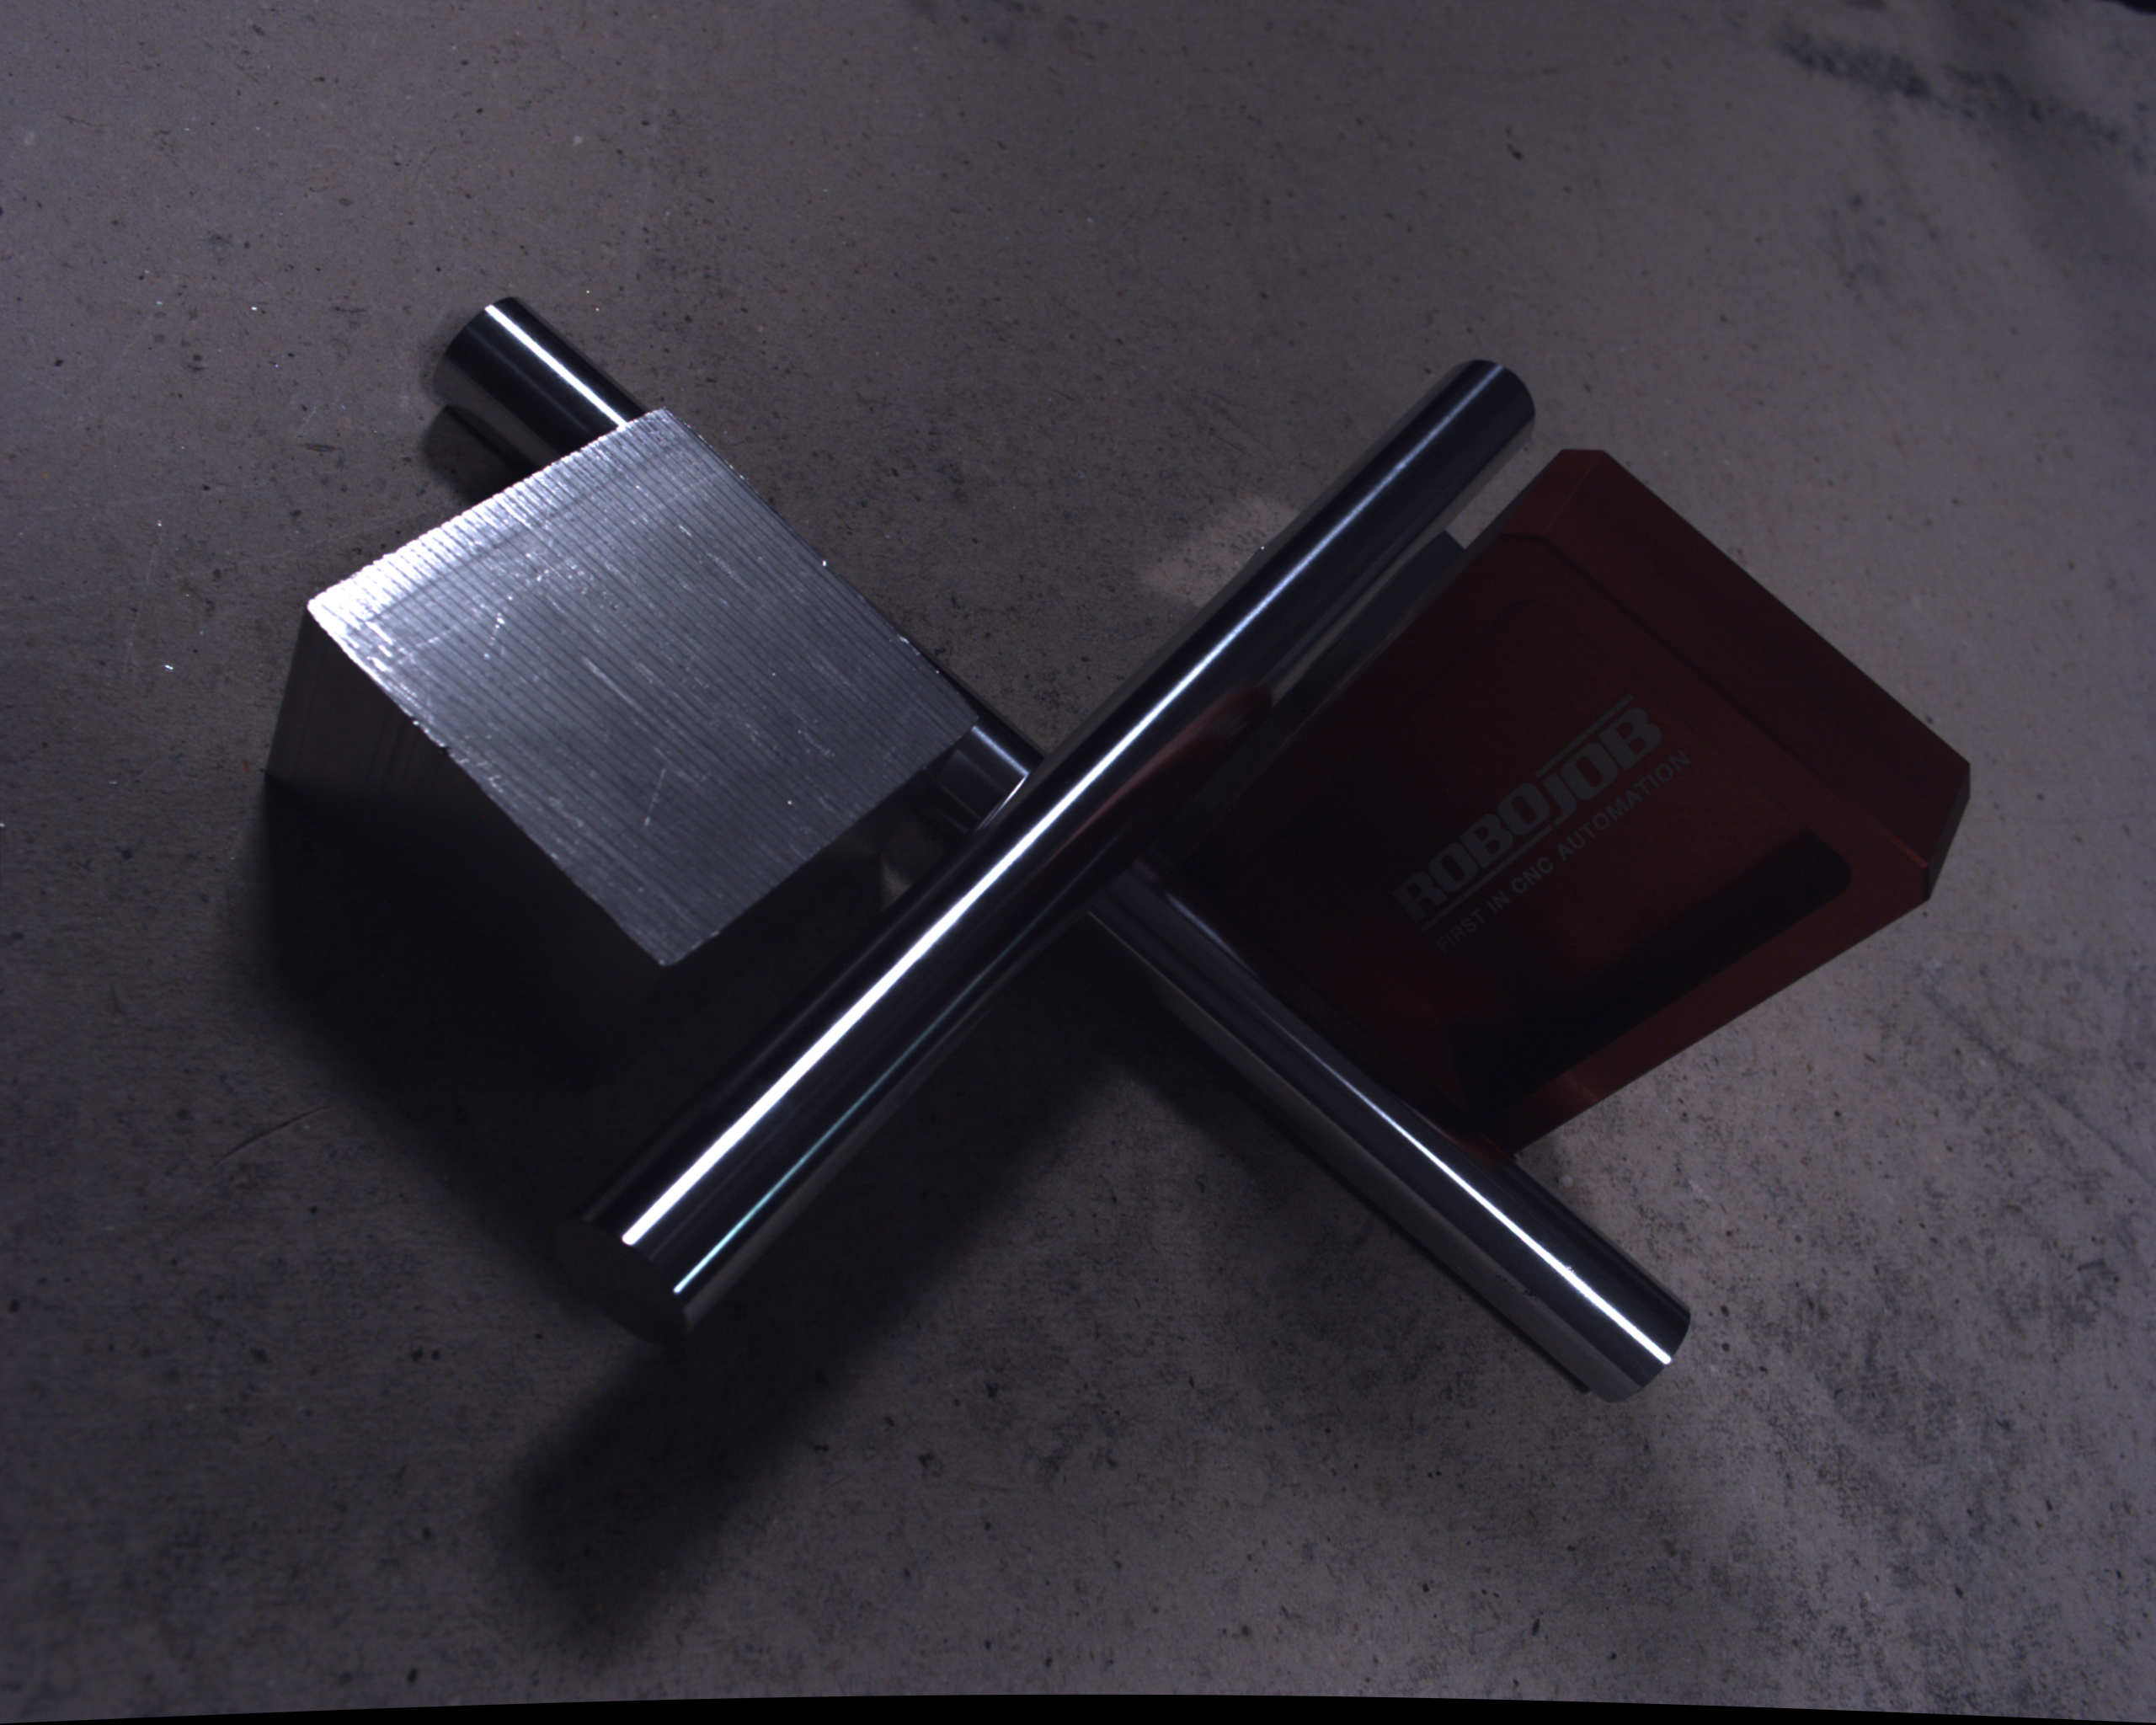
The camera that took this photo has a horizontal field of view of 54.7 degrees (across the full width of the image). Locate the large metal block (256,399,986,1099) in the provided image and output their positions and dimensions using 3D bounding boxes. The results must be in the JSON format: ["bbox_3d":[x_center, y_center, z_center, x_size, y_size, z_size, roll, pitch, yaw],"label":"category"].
[{"bbox_3d":[-0.078,-0.021,0.359,0.080,0.050,0.080,45,51,3],"label":"large metal block"}]

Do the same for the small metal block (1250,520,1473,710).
[{"bbox_3d":[0.066,-0.058,0.478,0.050,0.025,0.050,46,51,3],"label":"small metal block"}]

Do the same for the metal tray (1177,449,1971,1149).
[{"bbox_3d":[0.083,-0.004,0.386,0.090,0.129,0.030,40,51,-1],"label":"metal tray"}]

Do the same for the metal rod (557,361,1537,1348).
[{"bbox_3d":[0.015,-0.023,0.397,0.025,0.025,0.301,43,51,1],"label":"metal rod"}]

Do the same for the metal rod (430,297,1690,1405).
[{"bbox_3d":[-0.003,-0.002,0.407,0.300,0.025,0.025,41,51,-1],"label":"metal rod"}]
